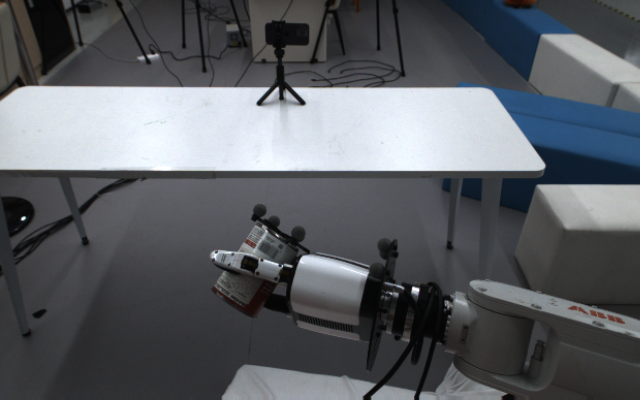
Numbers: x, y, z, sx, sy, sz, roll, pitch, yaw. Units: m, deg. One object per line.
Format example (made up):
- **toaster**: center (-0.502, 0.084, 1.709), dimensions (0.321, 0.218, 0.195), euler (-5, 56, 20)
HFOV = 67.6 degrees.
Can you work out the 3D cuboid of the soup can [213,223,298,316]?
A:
- **soup can**: center (-0.079, 0.089, 0.614), dimensions (0.067, 0.067, 0.101), euler (27, 78, 31)
